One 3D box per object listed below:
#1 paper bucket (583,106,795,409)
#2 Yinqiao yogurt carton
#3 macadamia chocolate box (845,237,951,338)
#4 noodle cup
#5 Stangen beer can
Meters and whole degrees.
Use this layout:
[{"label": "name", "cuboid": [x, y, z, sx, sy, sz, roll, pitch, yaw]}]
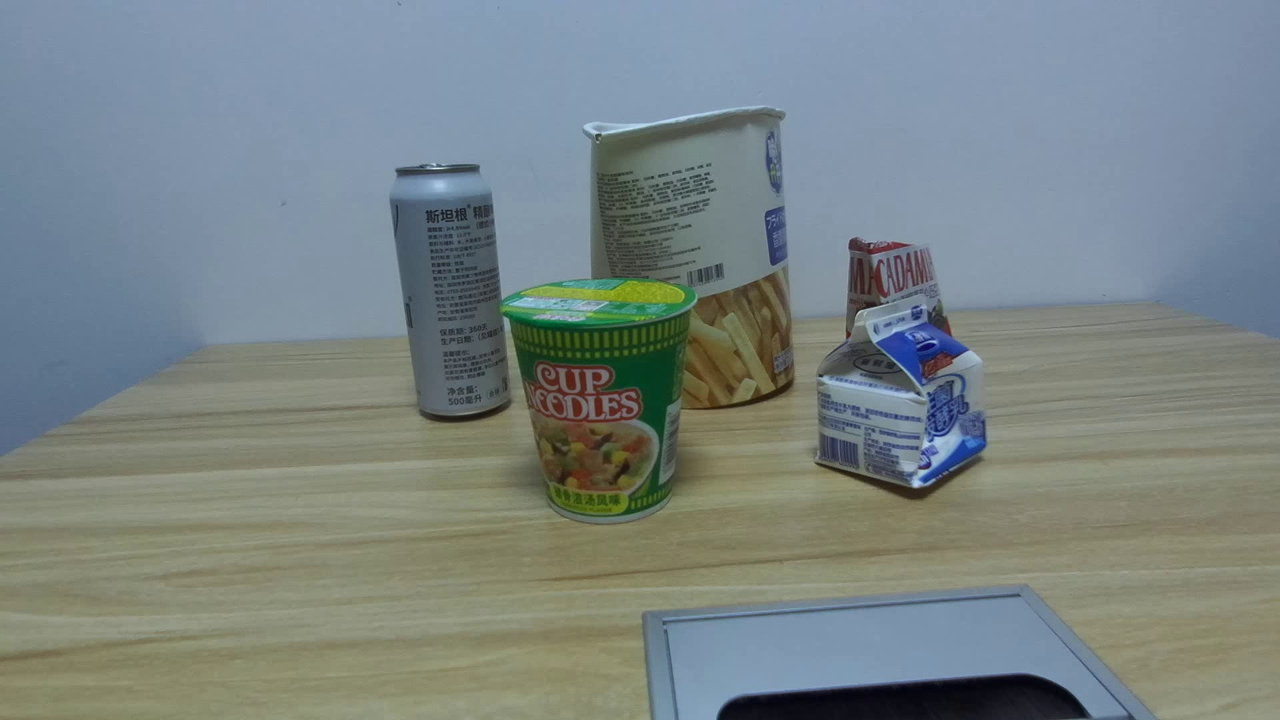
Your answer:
[{"label": "paper bucket", "cuboid": [0.042, -0.079, 0.524, 0.147, 0.199, 0.217, -2, 16, 0]}, {"label": "Yinqiao yogurt carton", "cuboid": [0.143, 0.013, 0.396, 0.078, 0.094, 0.070, -17, 17, -38]}, {"label": "macadamia chocolate box", "cuboid": [0.195, -0.040, 0.528, 0.056, 0.112, 0.127, 11, 22, 41]}, {"label": "noodle cup", "cuboid": [-0.017, 0.021, 0.365, 0.097, 0.110, 0.097, -2, 17, 1]}, {"label": "Stangen beer can", "cuboid": [-0.130, -0.046, 0.490, 0.067, 0.171, 0.067, -3, 15, 1]}]
